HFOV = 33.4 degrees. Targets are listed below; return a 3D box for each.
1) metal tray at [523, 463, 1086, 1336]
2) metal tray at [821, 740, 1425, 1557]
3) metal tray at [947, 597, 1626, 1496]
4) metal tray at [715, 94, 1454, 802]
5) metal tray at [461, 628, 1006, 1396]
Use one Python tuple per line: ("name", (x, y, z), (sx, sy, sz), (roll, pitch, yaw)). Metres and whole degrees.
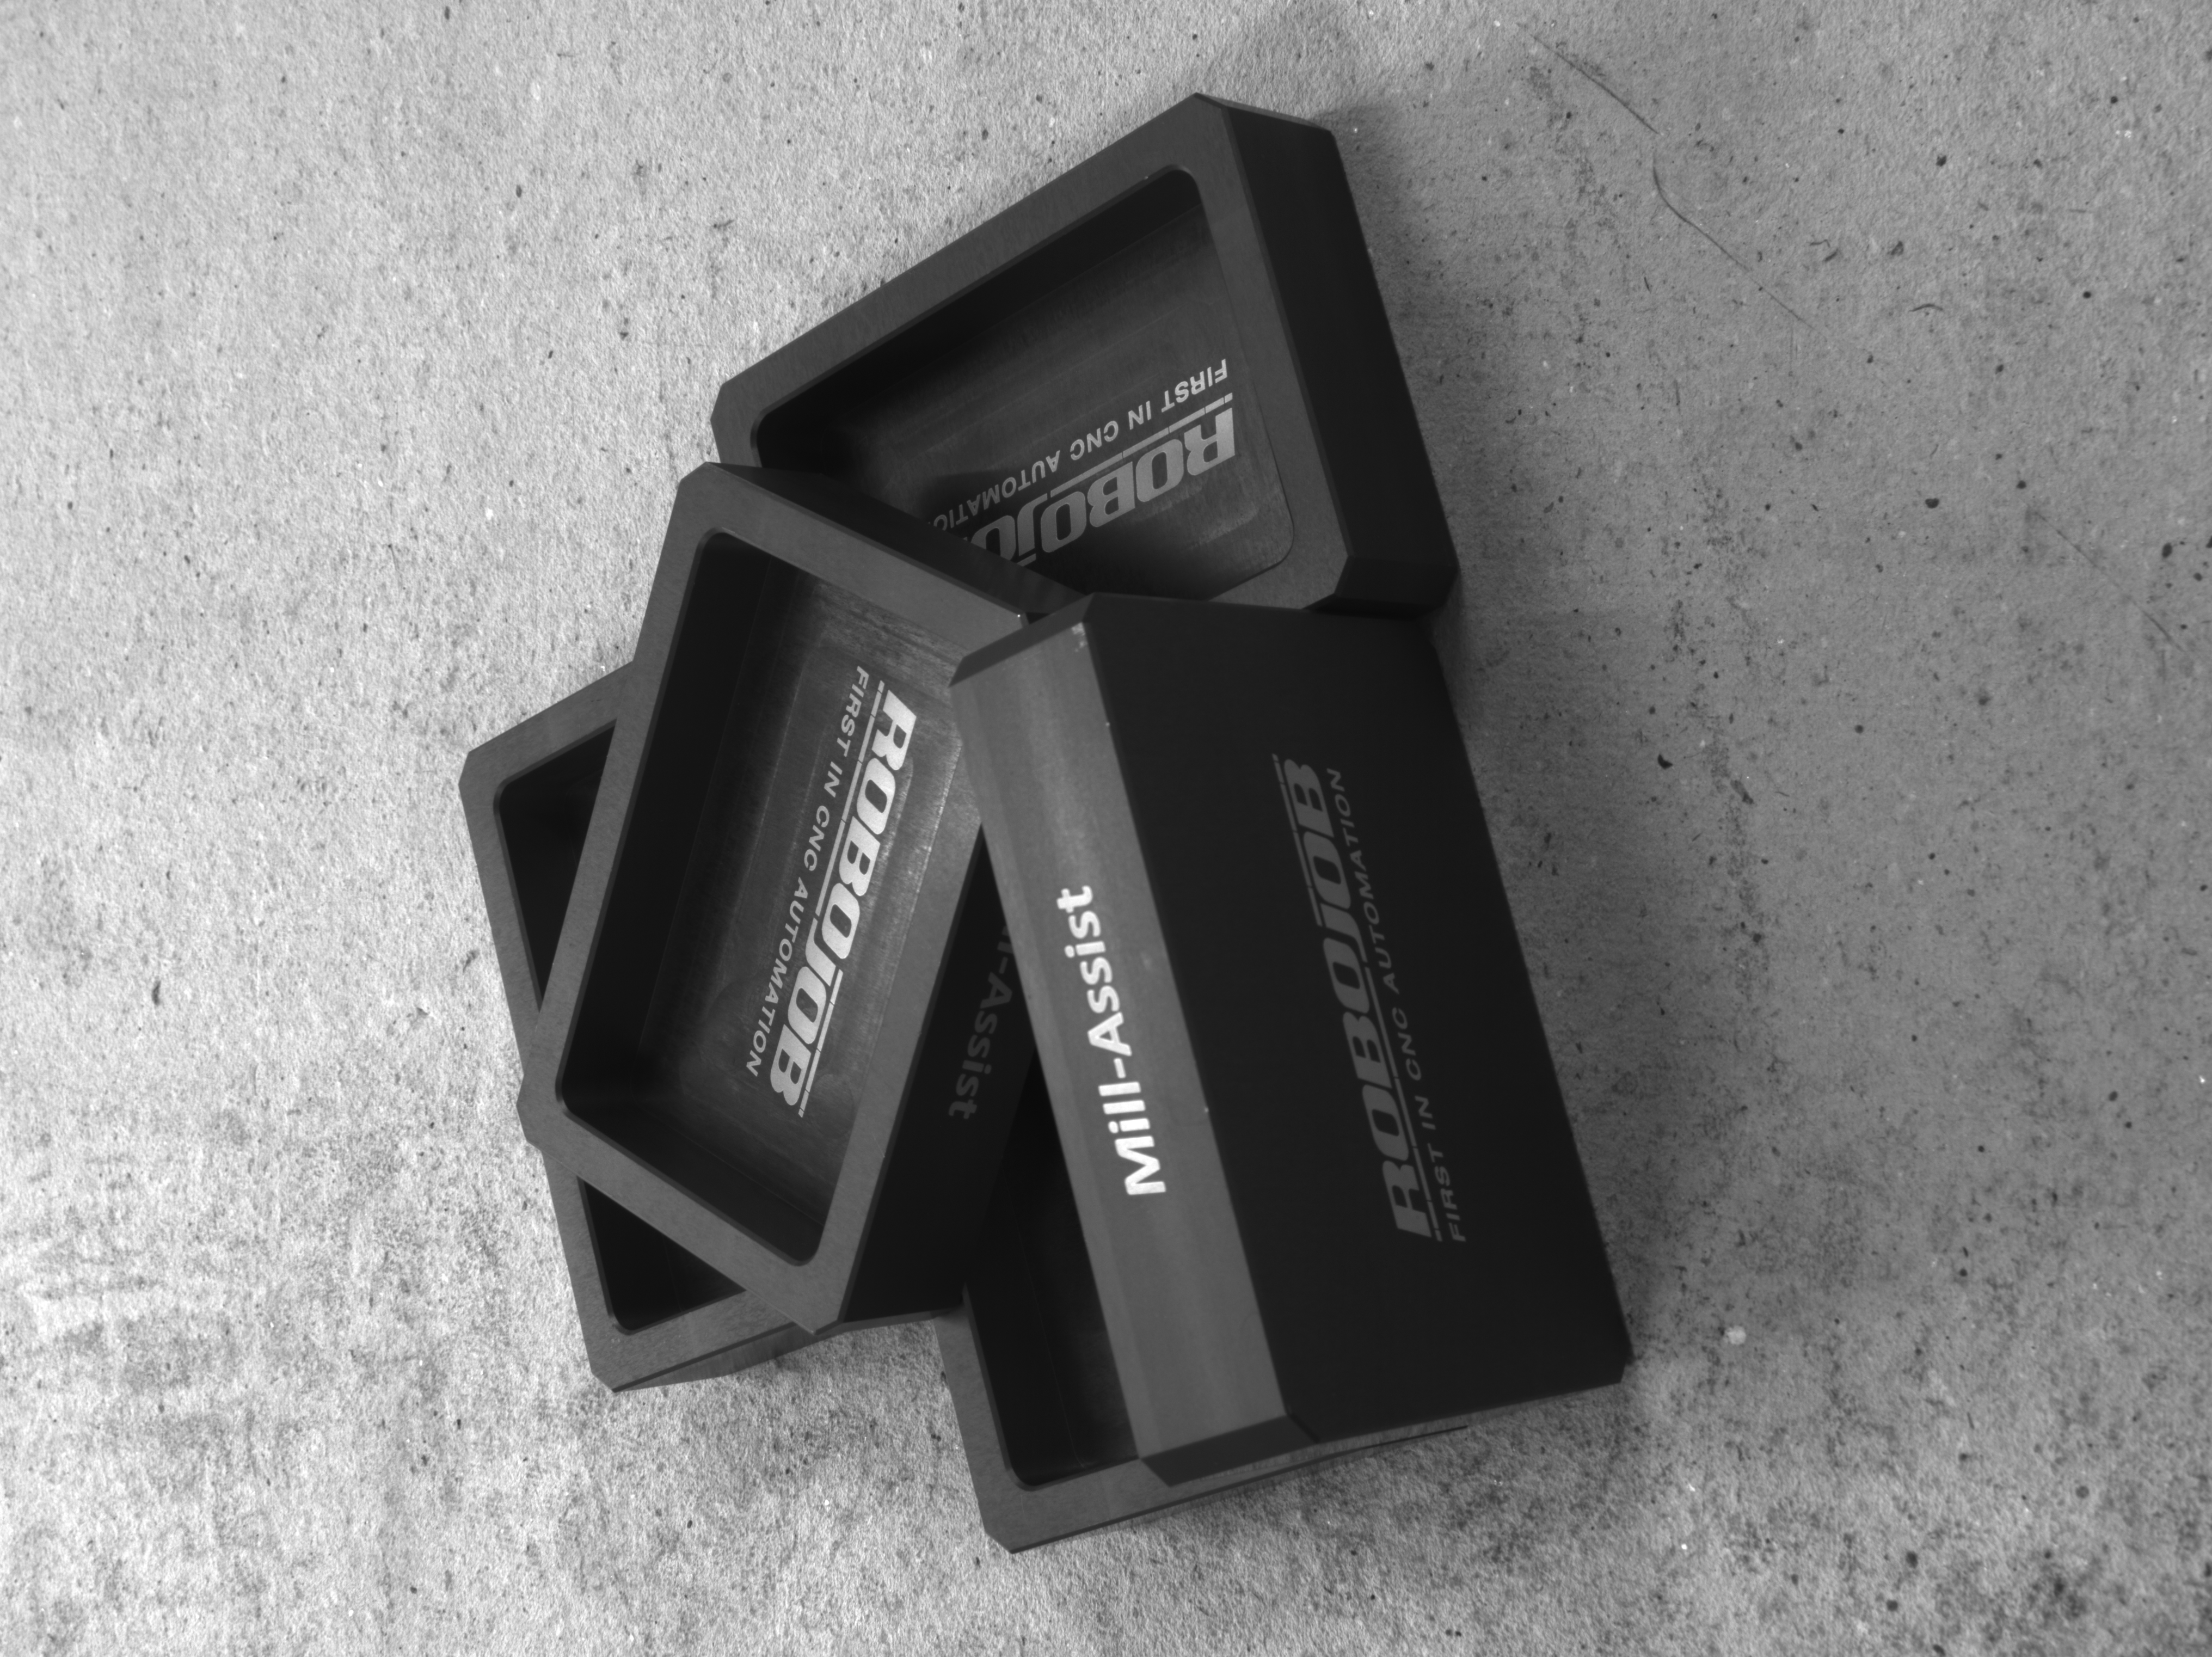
("metal tray", (-0.050, 0.011, 0.646), (0.090, 0.030, 0.130), (28, 108, 38))
("metal tray", (0.004, 0.051, 0.636), (0.090, 0.030, 0.130), (-25, 75, 38))
("metal tray", (0.029, 0.032, 0.575), (0.030, 0.090, 0.130), (-23, 75, 38))
("metal tray", (-0.008, -0.060, 0.650), (0.130, 0.030, 0.090), (-24, 75, 38))
("metal tray", (-0.072, 0.034, 0.702), (0.090, 0.030, 0.130), (-24, 74, 38))
